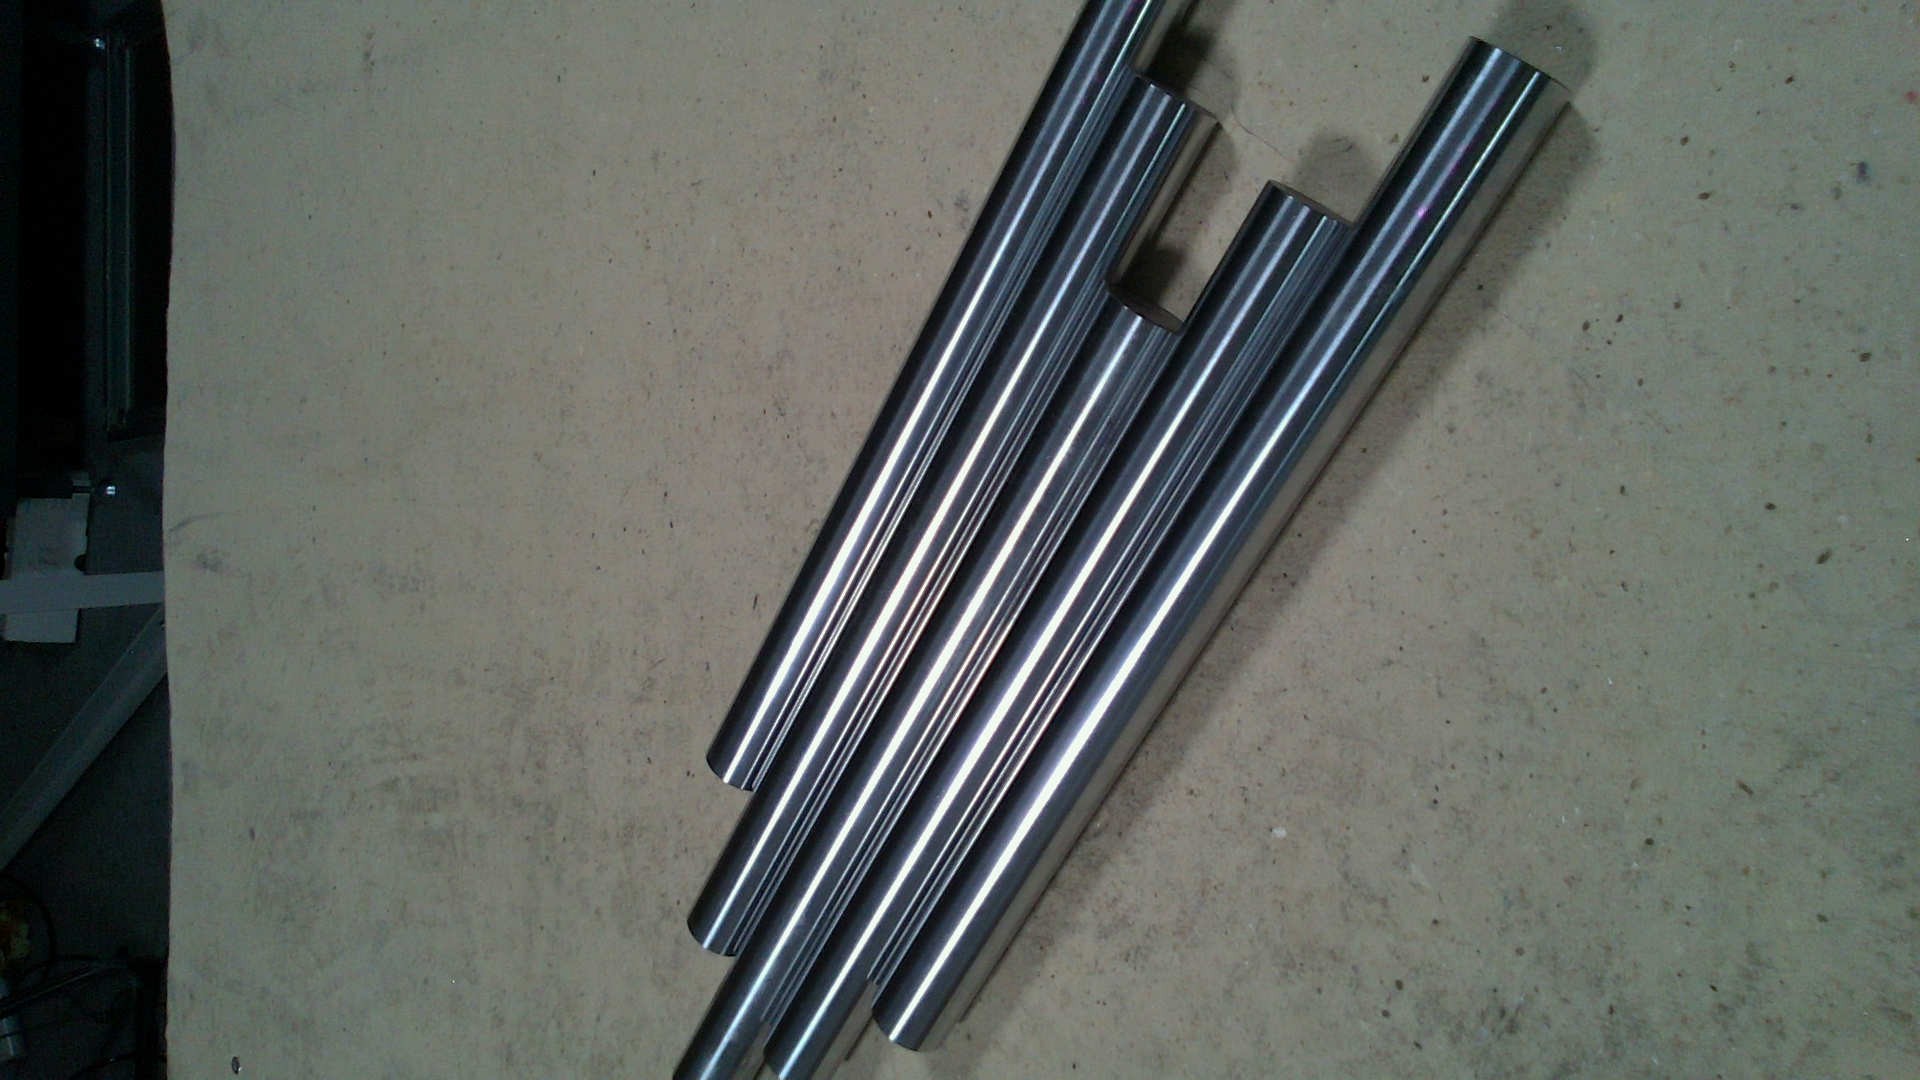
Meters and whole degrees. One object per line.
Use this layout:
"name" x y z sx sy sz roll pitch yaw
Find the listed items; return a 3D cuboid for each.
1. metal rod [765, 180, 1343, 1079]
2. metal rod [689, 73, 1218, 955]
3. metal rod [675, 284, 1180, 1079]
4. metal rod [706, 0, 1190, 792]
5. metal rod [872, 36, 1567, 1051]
"metal rod" 0.016 0.042 0.381 0.025 0.025 0.300 43 116 31
"metal rod" -0.012 0.009 0.406 0.025 0.025 0.300 43 116 31
"metal rod" -0.018 0.062 0.410 0.025 0.025 0.300 43 116 31
"metal rod" -0.006 -0.046 0.400 0.025 0.025 0.300 43 116 31
"metal rod" 0.052 0.020 0.351 0.025 0.025 0.300 43 116 31
